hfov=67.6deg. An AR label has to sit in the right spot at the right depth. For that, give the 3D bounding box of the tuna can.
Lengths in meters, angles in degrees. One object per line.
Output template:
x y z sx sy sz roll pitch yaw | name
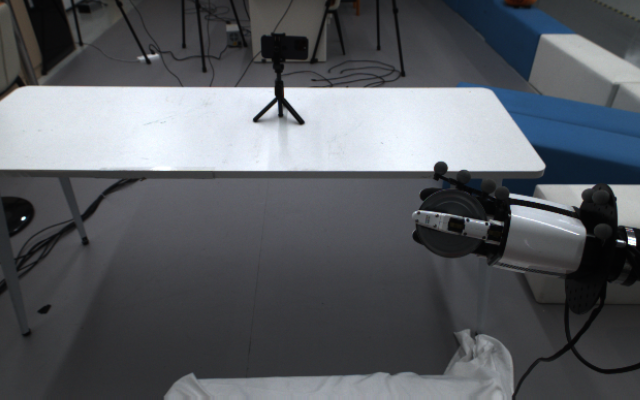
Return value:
0.168 0.028 0.612 0.085 0.085 0.034 13 2 16 | tuna can
